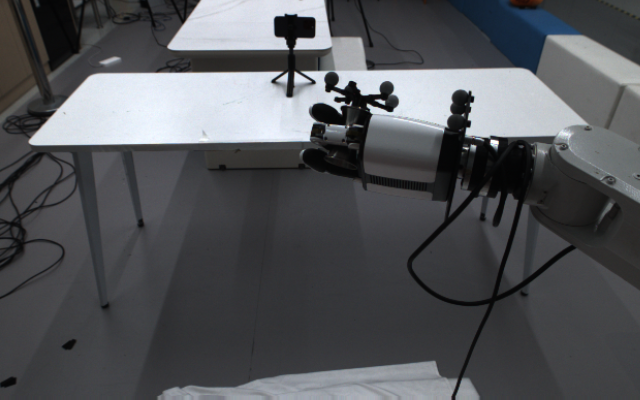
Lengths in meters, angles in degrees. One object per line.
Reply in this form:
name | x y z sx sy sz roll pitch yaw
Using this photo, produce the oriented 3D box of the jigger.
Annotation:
jigger | 0.038 -0.076 0.590 0.043 0.071 0.043 15 -7 2
